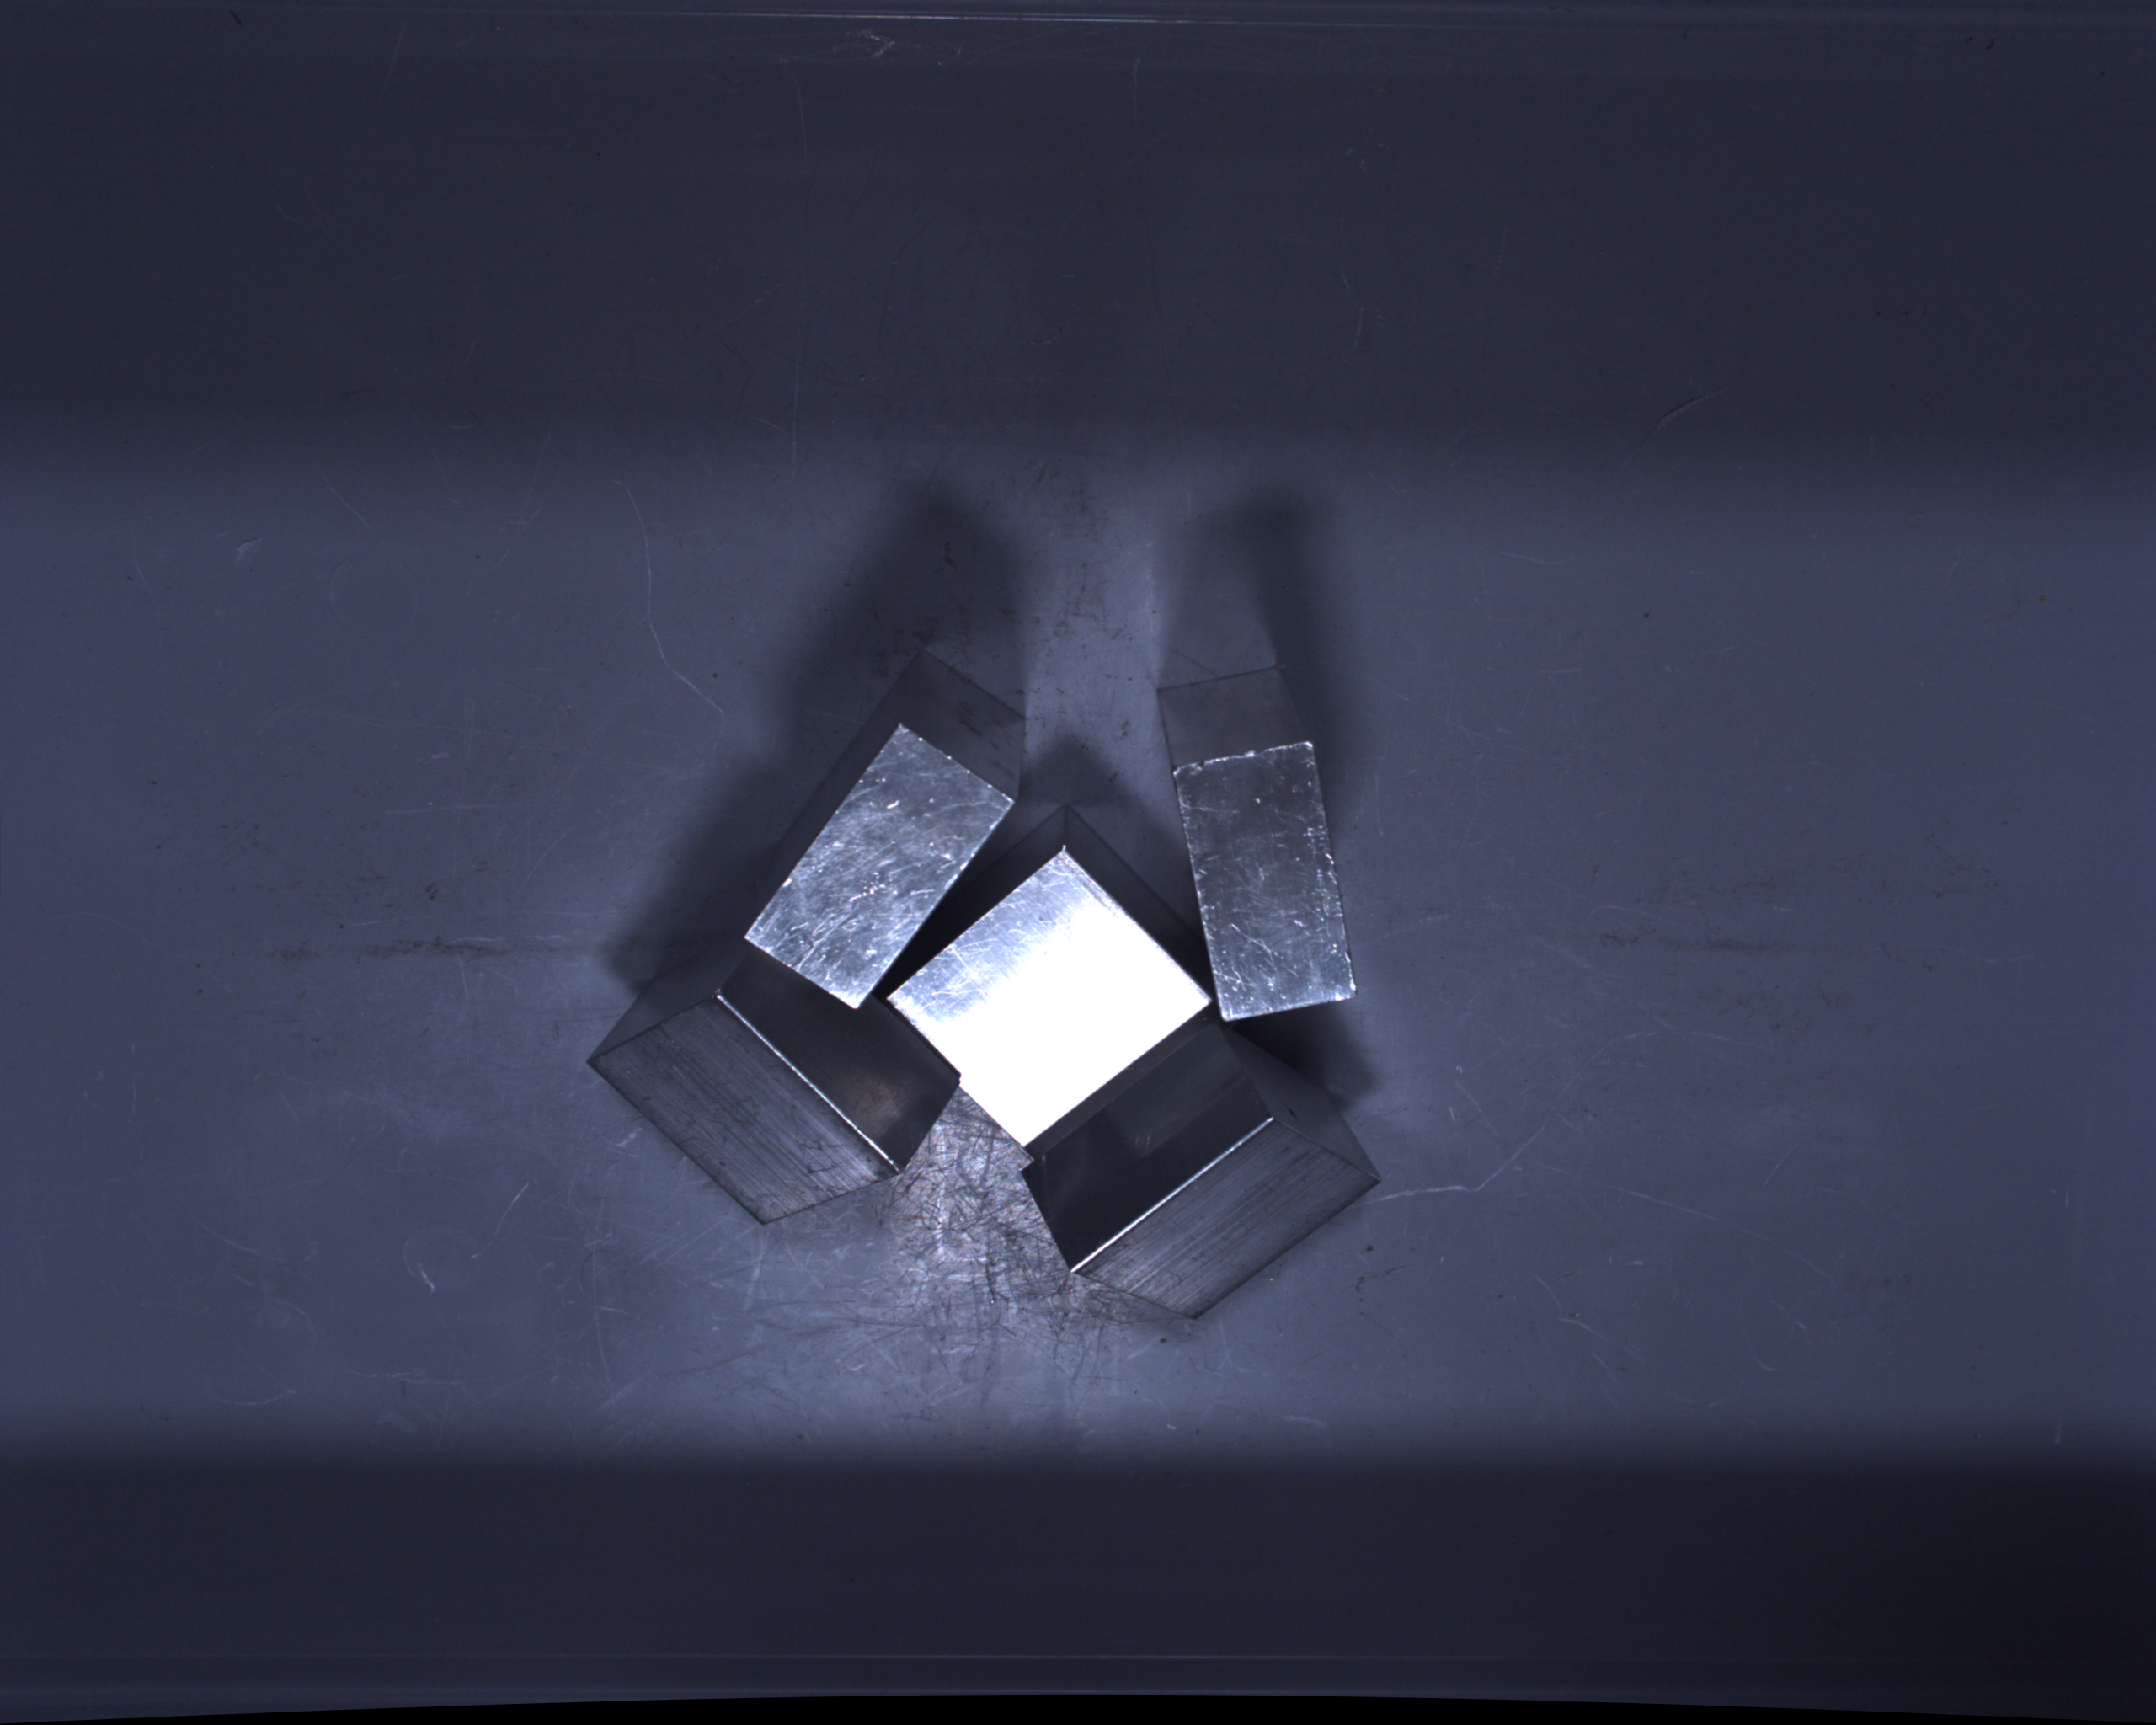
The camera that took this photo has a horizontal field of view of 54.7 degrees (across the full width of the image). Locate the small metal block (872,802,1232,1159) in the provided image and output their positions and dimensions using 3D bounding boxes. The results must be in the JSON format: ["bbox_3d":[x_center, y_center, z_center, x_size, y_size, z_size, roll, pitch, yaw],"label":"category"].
[{"bbox_3d":[-0.005,0.025,0.418,0.050,0.025,0.050,-40,106,13],"label":"small metal block"}]

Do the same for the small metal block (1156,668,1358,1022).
[{"bbox_3d":[0.033,-0.005,0.394,0.025,0.050,0.050,-11,110,3],"label":"small metal block"}]

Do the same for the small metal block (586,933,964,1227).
[{"bbox_3d":[-0.060,0.041,0.412,0.050,0.025,0.050,47,136,-16],"label":"small metal block"}]

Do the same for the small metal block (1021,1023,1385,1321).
[{"bbox_3d":[0.026,0.063,0.419,0.050,0.025,0.050,-39,143,12],"label":"small metal block"}]

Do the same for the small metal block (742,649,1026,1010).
[{"bbox_3d":[-0.035,-0.007,0.392,0.025,0.050,0.050,35,106,-12],"label":"small metal block"}]
